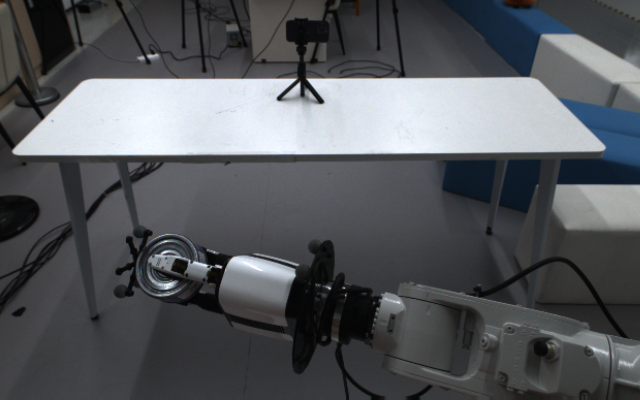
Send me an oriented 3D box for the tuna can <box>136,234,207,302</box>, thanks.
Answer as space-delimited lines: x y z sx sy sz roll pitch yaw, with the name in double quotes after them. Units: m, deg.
-0.187 0.087 0.618 0.085 0.034 0.085 -3 69 7 "tuna can"
